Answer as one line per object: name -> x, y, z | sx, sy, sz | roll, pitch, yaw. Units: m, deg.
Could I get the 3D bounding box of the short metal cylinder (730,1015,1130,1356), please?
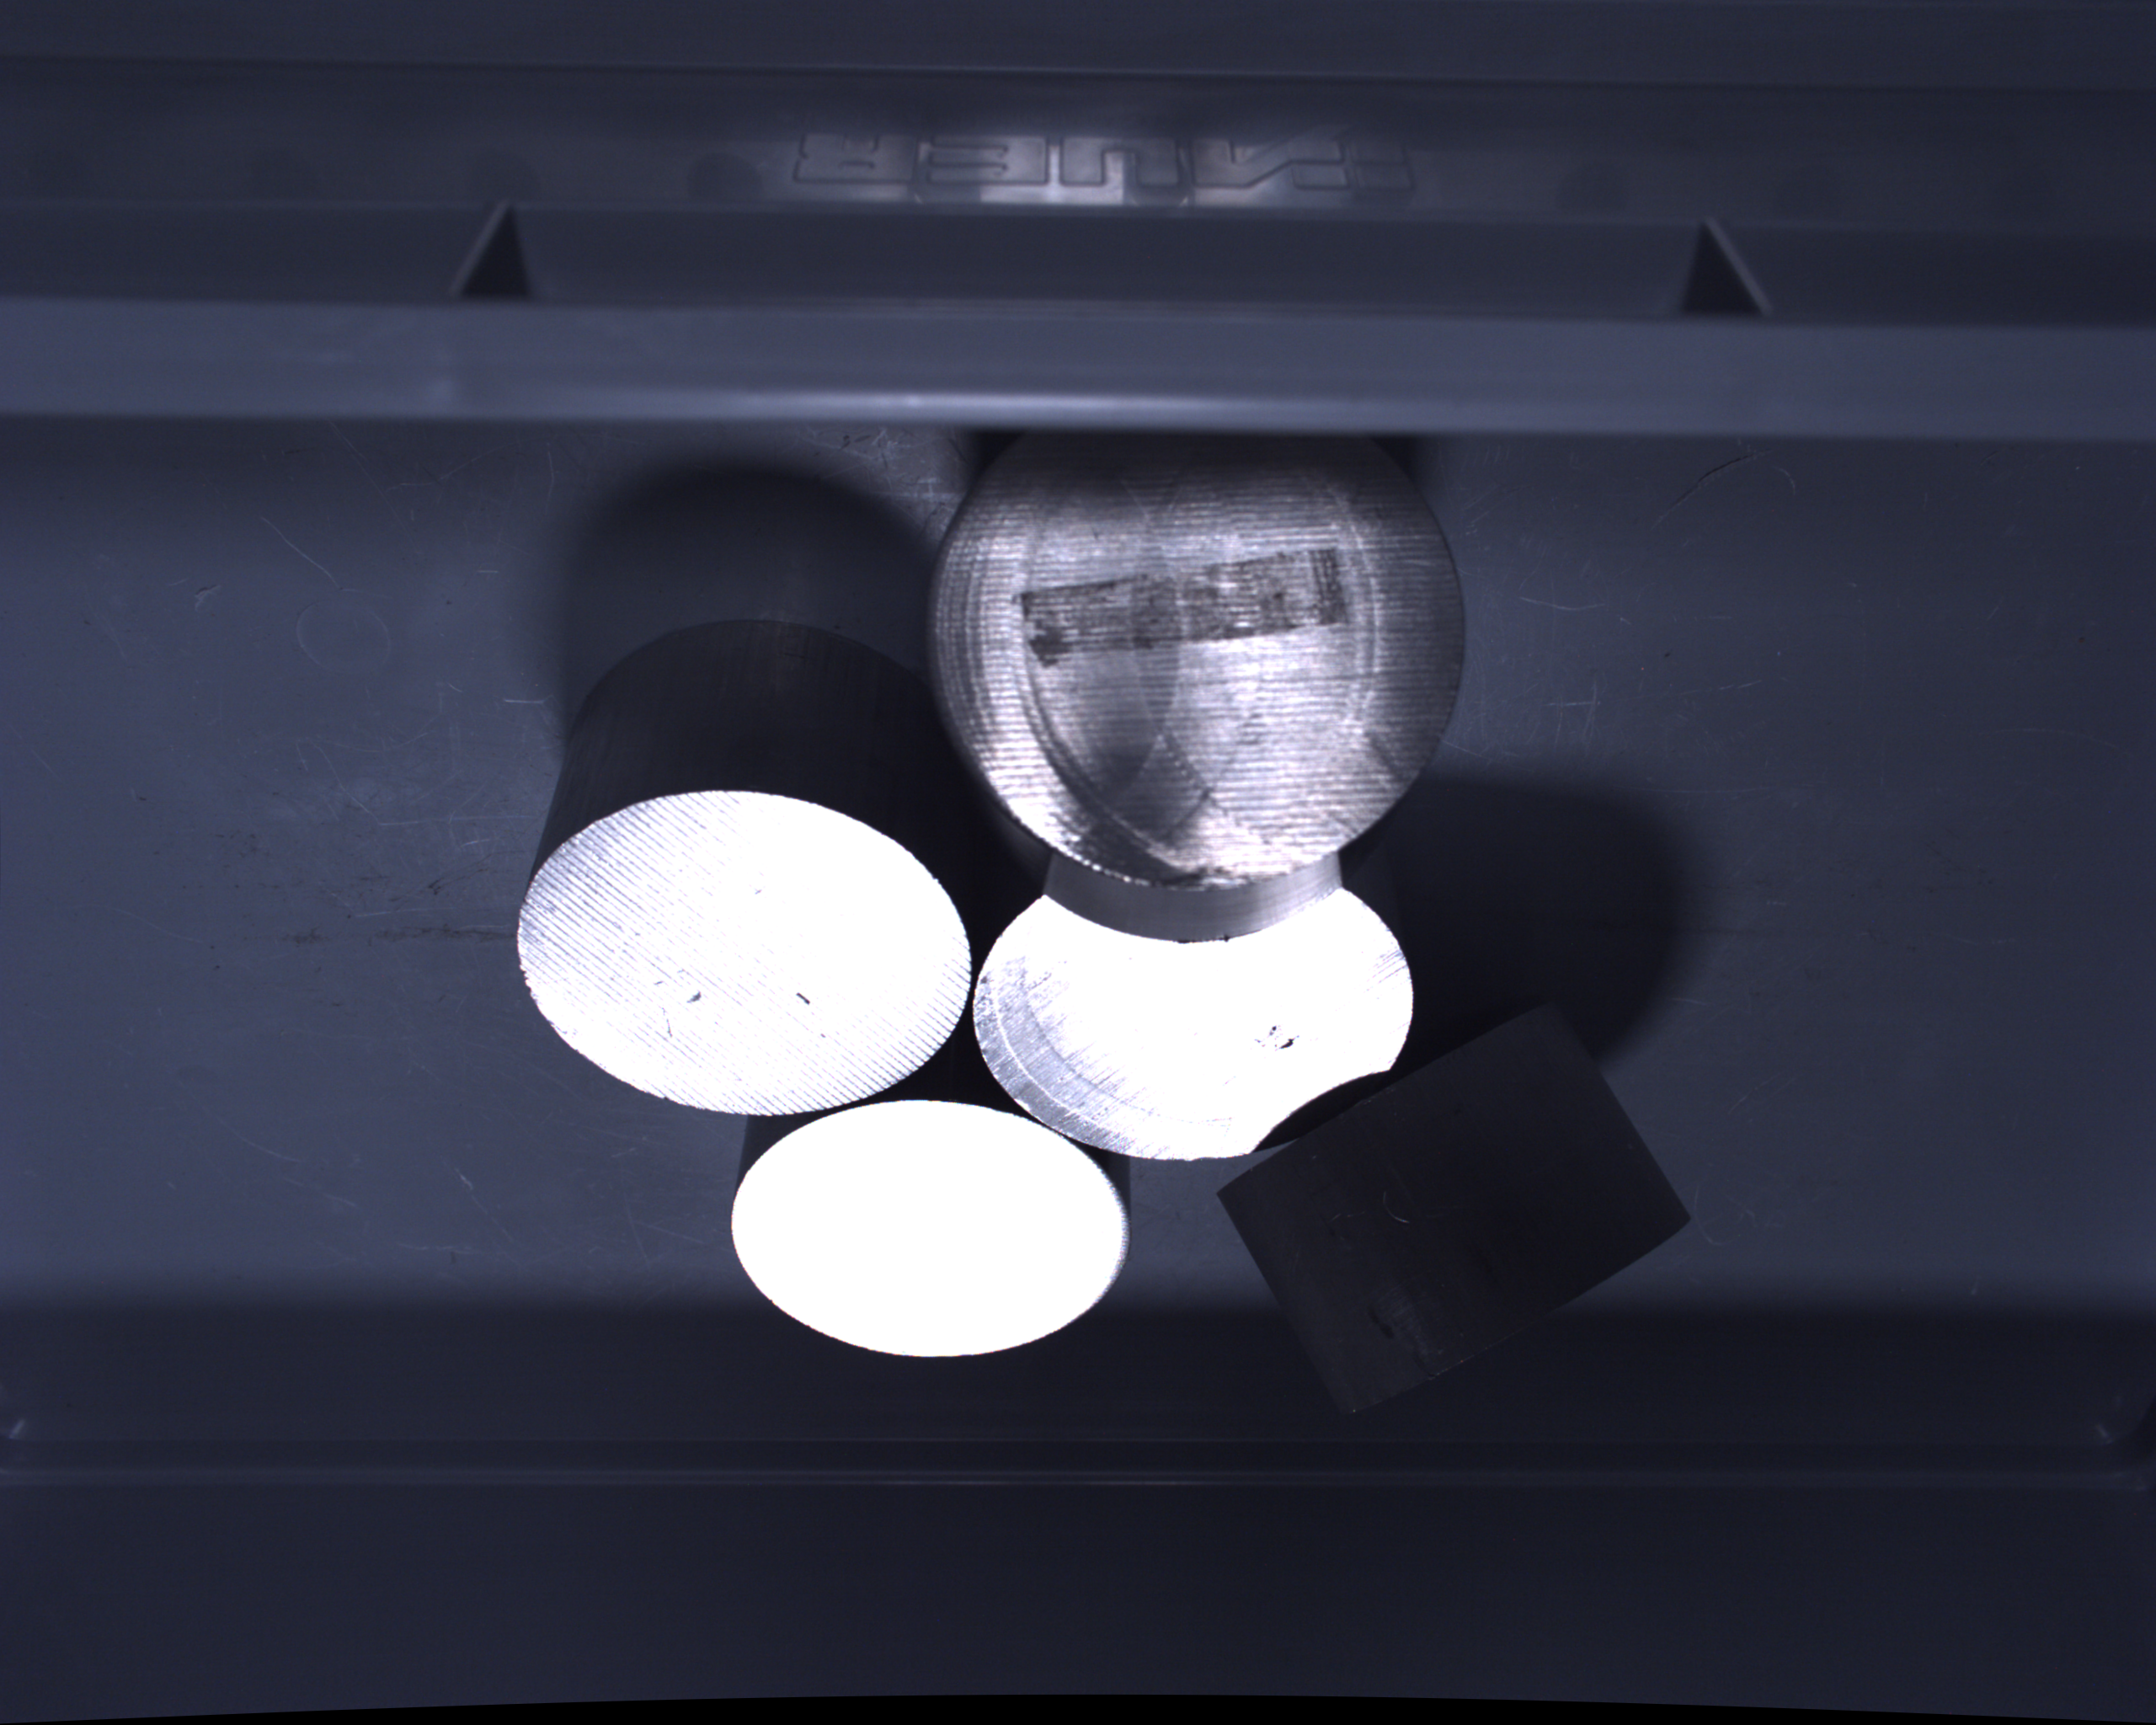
short metal cylinder -> -0.030, 0.059, 0.440 | 0.081, 0.050, 0.079 | 0, 130, 0

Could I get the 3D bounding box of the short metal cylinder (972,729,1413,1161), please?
short metal cylinder -> 0.021, 0.012, 0.401 | 0.081, 0.050, 0.079 | 0, 130, 0

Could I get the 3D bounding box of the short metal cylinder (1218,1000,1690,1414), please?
short metal cylinder -> 0.075, 0.070, 0.424 | 0.080, 0.050, 0.080 | -28, 168, -7

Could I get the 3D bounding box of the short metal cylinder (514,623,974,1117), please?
short metal cylinder -> -0.060, 0.002, 0.391 | 0.081, 0.050, 0.079 | 0, 130, 0

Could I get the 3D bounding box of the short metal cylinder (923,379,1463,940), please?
short metal cylinder -> 0.018, -0.030, 0.336 | 0.081, 0.080, 0.050 | -2, 169, 1
